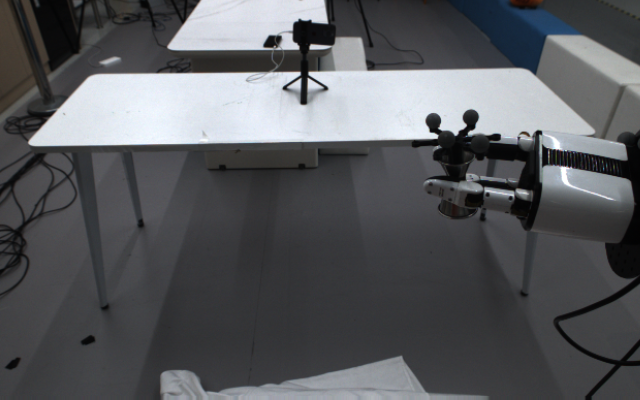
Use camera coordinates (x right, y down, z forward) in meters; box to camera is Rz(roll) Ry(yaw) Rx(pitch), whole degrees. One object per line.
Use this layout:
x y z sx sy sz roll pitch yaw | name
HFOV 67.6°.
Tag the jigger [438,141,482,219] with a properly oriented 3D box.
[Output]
0.151 -0.021 0.538 0.043 0.071 0.043 -9 31 5 | jigger
